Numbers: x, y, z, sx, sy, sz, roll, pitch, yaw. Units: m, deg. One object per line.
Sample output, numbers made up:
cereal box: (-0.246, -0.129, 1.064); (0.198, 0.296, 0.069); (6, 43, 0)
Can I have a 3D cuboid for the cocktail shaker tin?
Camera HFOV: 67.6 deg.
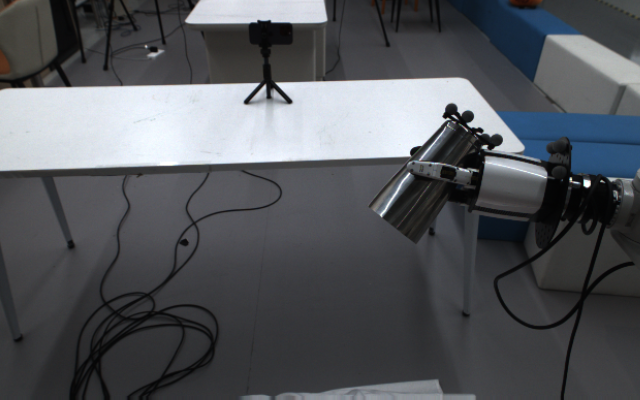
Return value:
cocktail shaker tin: (0.159, -0.034, 0.710); (0.170, 0.093, 0.093); (-50, 46, 4)
